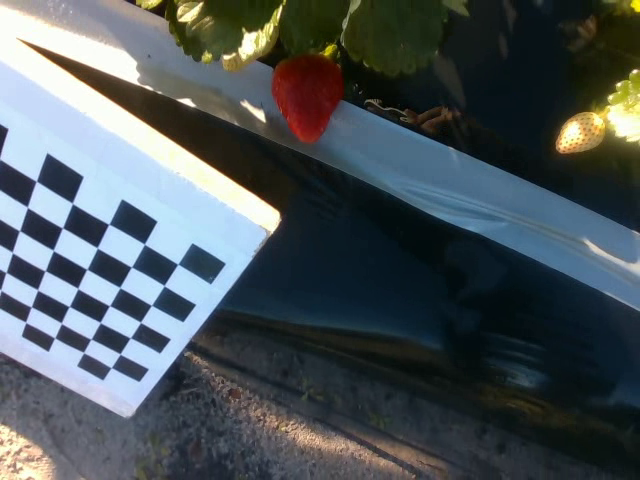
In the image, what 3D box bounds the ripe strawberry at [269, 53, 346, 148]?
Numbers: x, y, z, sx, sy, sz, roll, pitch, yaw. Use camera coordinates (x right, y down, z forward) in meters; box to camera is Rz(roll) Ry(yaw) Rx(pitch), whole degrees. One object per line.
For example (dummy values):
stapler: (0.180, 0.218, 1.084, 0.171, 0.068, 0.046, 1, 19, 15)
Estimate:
ripe strawberry: (-0.007, -0.082, 0.330, 0.045, 0.064, 0.048, -21, -33, 32)
